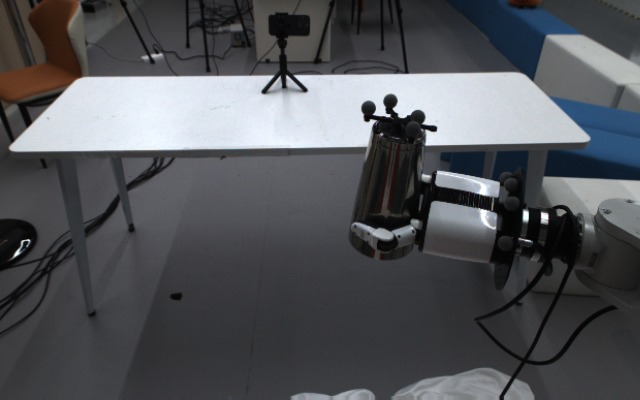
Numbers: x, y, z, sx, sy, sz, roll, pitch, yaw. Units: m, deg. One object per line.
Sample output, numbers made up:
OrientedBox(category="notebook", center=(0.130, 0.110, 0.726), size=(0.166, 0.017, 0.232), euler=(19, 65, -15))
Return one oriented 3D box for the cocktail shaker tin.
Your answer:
OrientedBox(category="cocktail shaker tin", center=(0.092, -0.016, 0.632), size=(0.093, 0.170, 0.093), euler=(3, 34, -2))
